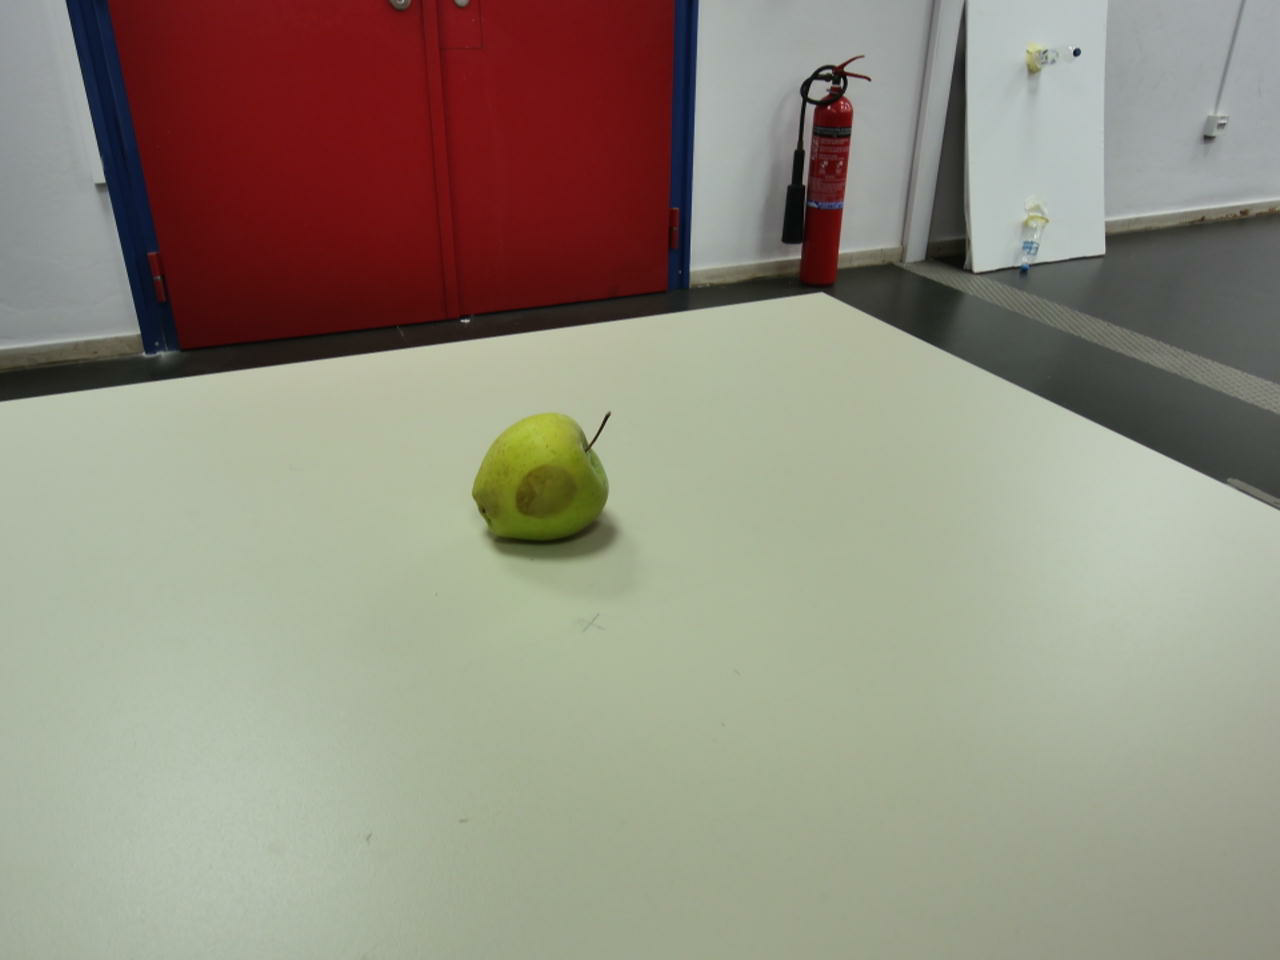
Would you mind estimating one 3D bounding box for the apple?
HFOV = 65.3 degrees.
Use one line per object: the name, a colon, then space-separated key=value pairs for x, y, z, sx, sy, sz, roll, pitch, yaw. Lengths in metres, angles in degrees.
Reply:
apple: x=-0.057 y=-0.003 z=0.591 sx=0.077 sy=0.075 sz=0.072 roll=10 pitch=27 yaw=17
